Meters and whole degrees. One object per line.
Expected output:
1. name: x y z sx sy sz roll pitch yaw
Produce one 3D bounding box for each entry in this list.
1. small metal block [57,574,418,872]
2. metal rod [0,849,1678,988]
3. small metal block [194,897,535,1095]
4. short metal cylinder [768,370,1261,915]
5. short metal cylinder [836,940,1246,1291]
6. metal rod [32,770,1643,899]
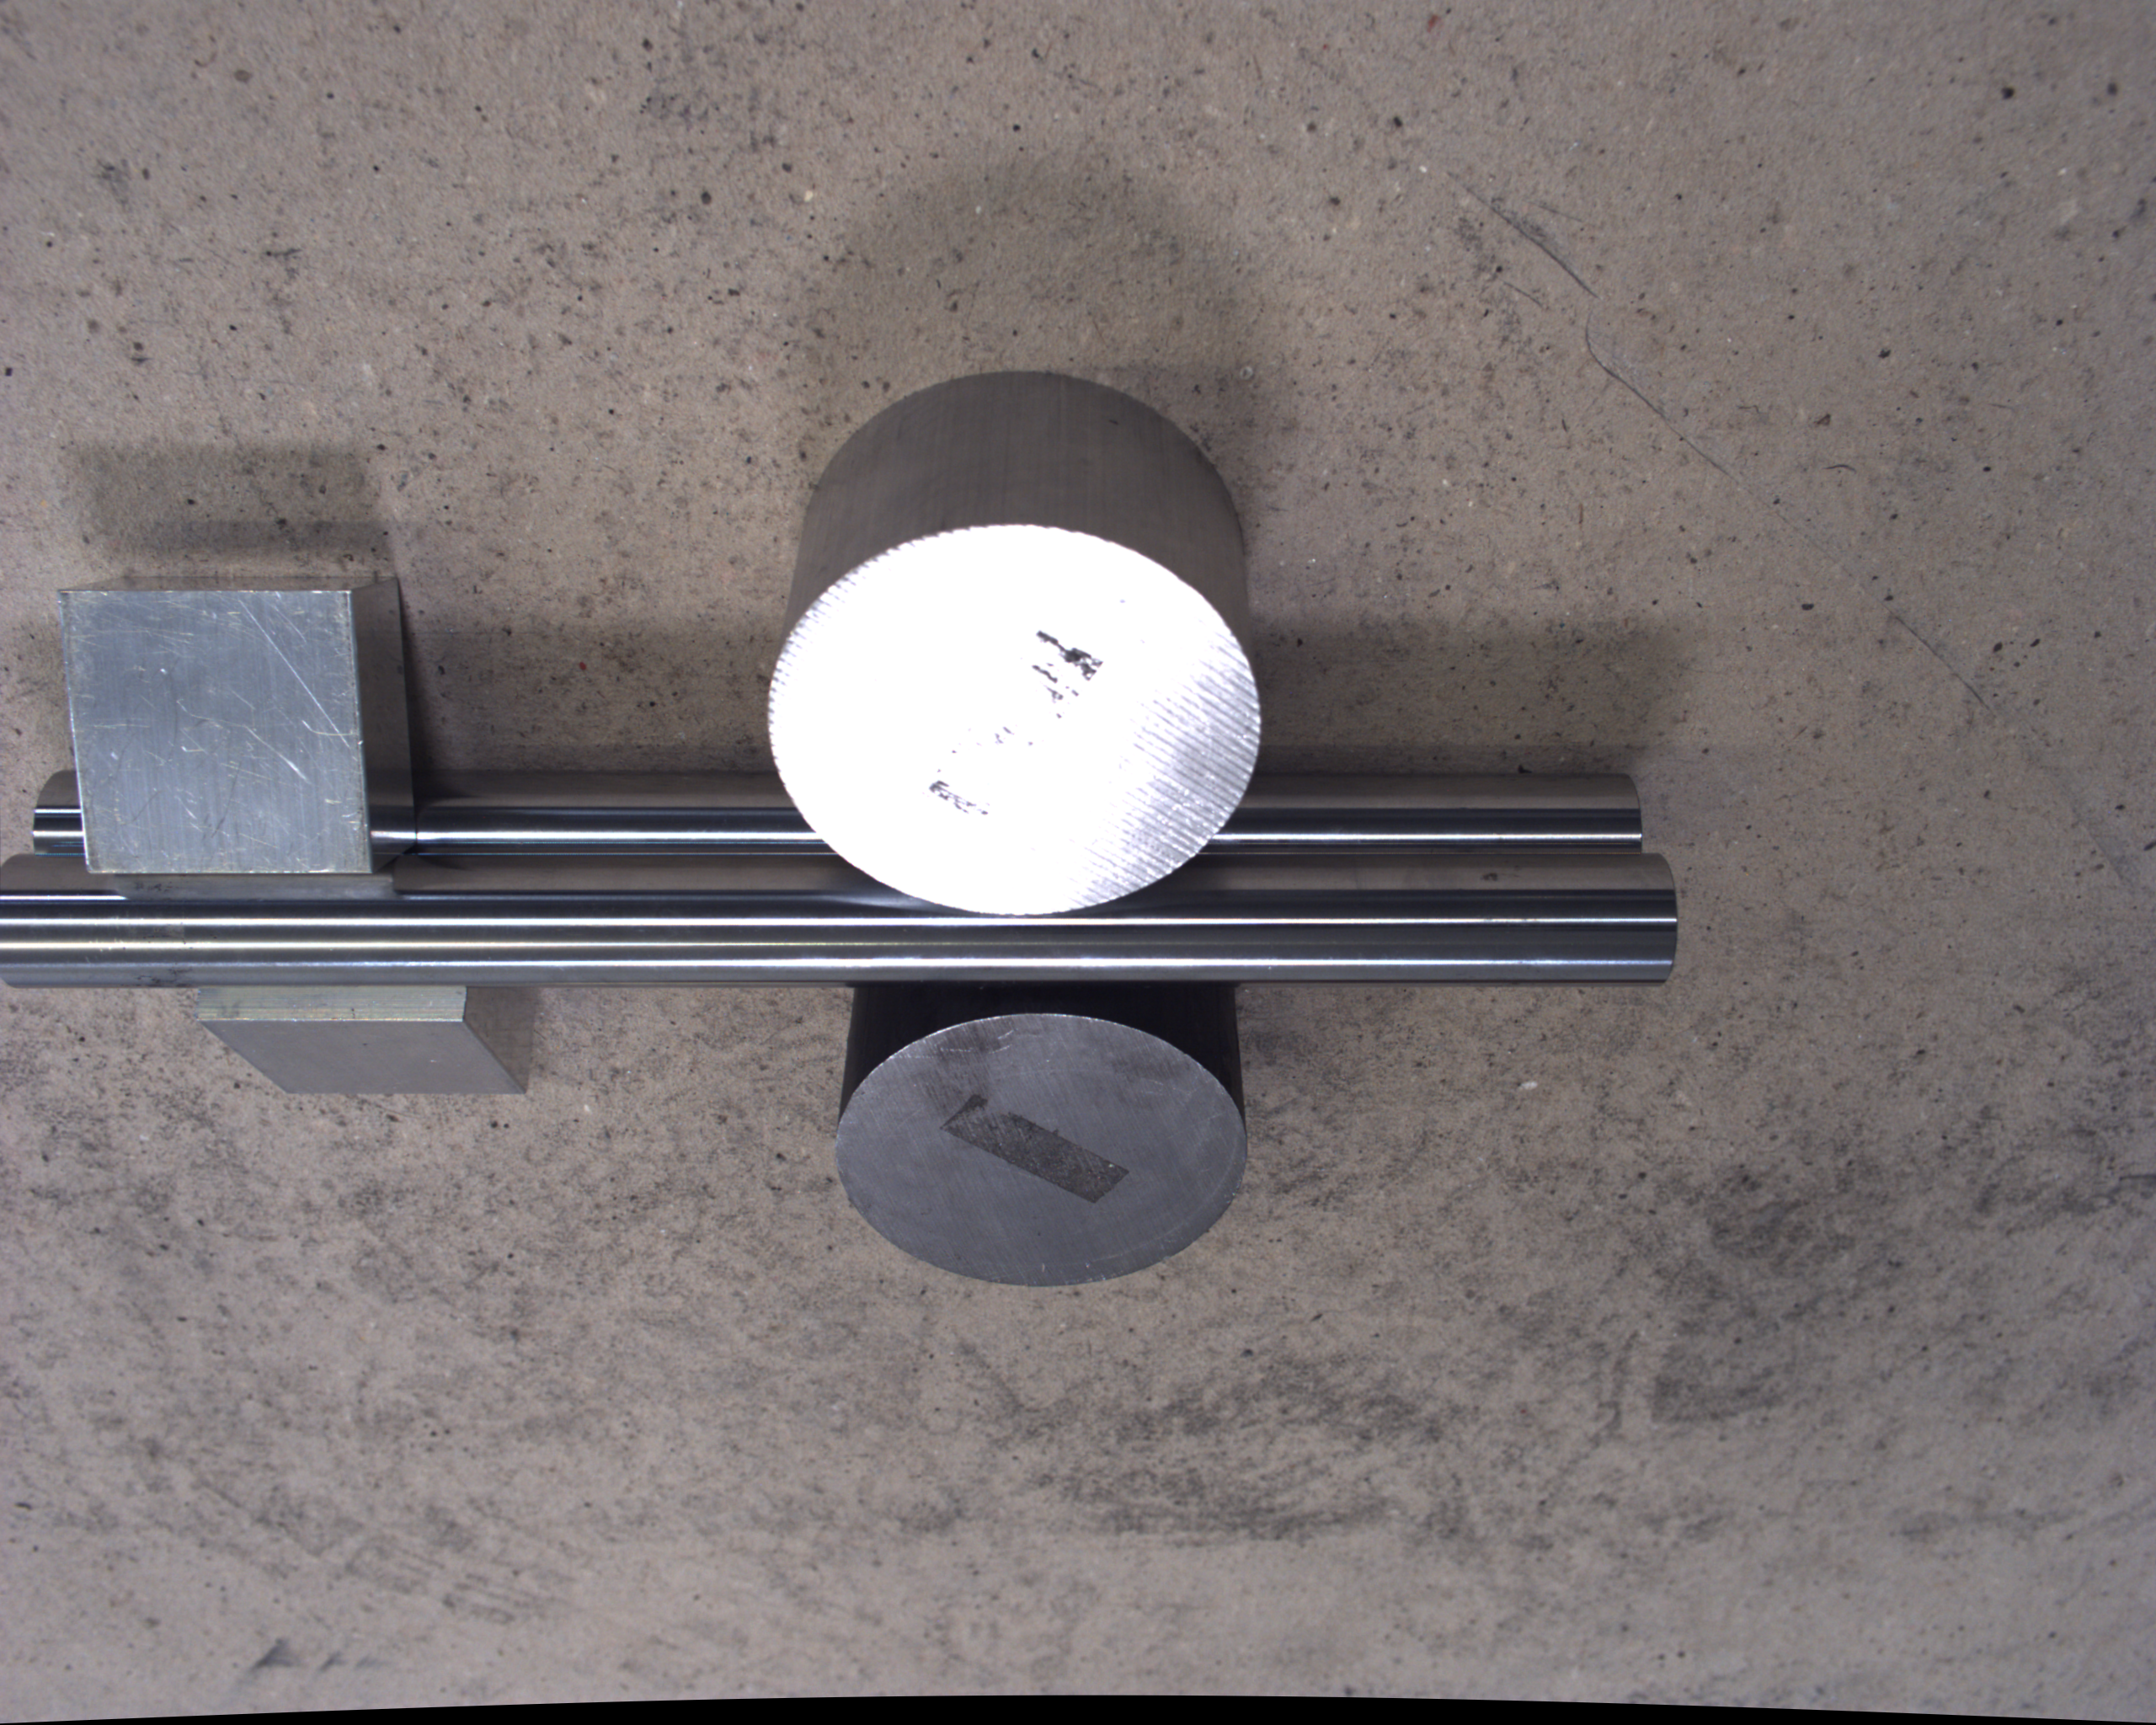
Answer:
1. small metal block: -0.149 -0.025 0.373 0.050 0.025 0.050 0 103 0
2. metal rod: -0.044 0.010 0.384 0.302 0.025 0.025 0 130 0
3. small metal block: -0.140 0.028 0.418 0.050 0.025 0.050 0 157 -1
4. short metal cylinder: -0.010 -0.037 0.360 0.081 0.050 0.079 0 130 0
5. short metal cylinder: -0.007 0.043 0.429 0.081 0.050 0.079 0 130 0
6. metal rod: -0.045 -0.005 0.404 0.302 0.025 0.025 0 130 -1
